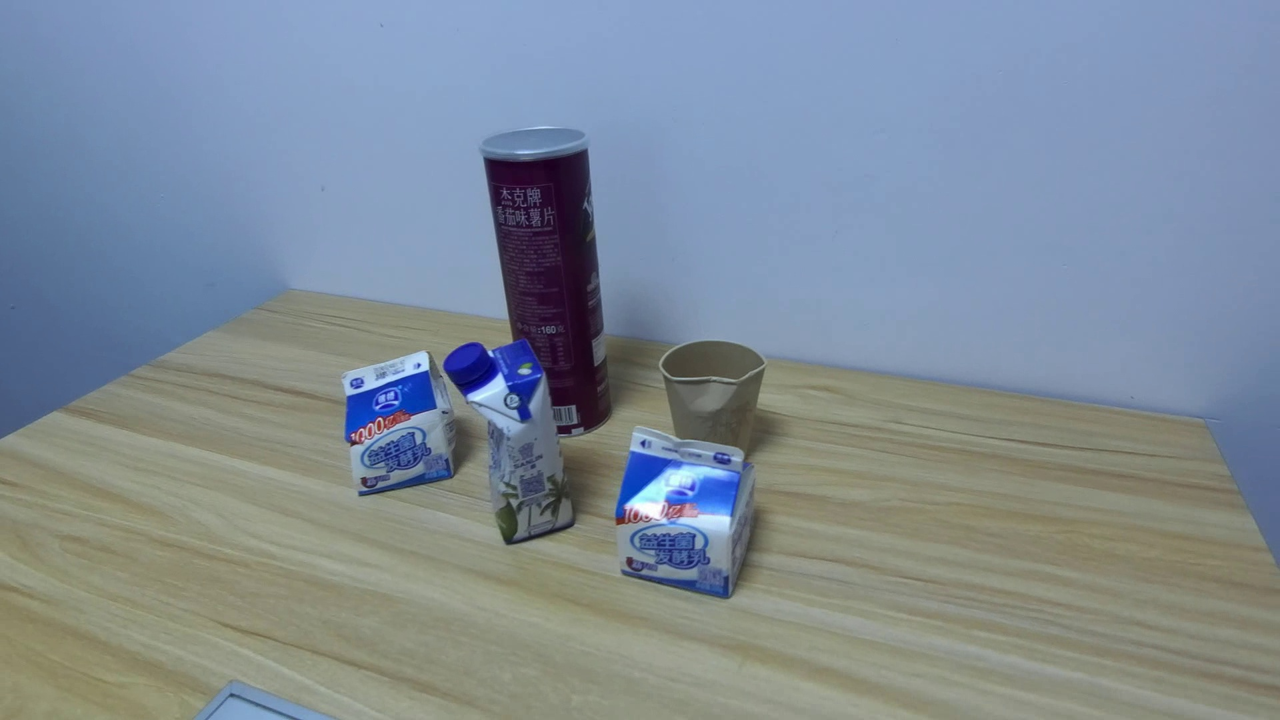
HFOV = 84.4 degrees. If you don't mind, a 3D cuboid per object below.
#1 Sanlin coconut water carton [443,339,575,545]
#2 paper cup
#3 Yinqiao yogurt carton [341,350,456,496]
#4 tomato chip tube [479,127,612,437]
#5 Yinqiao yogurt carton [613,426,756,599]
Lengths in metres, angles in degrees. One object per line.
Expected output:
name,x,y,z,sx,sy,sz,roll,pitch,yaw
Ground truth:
Sanlin coconut water carton,-0.085,0.051,0.476,0.058,0.142,0.077,-18,32,-13
paper cup,0.054,0.036,0.535,0.068,0.081,0.074,21,37,39
Yinqiao yogurt carton,-0.188,0.040,0.549,0.083,0.093,0.077,-10,31,-13
tomato chip tube,-0.068,-0.055,0.558,0.078,0.234,0.078,-2,30,2
Yinqiao yogurt carton,0.031,0.086,0.447,0.075,0.092,0.074,9,31,18
